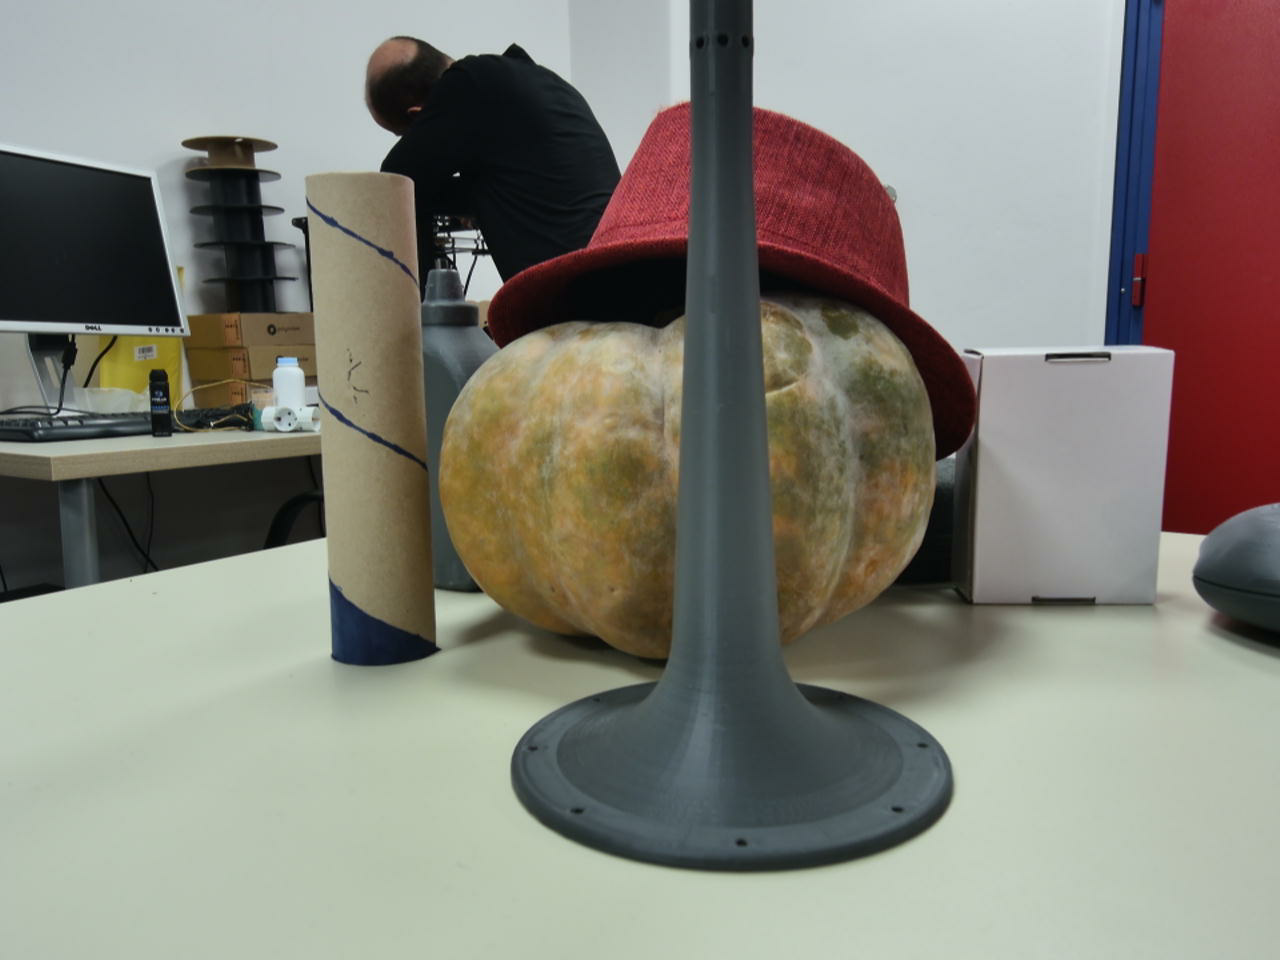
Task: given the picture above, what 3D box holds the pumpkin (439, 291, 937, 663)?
[{"bbox_3d":[0.021,-0.005,0.502,0.252,0.168,0.252,0,6,0],"label":"pumpkin"}]
